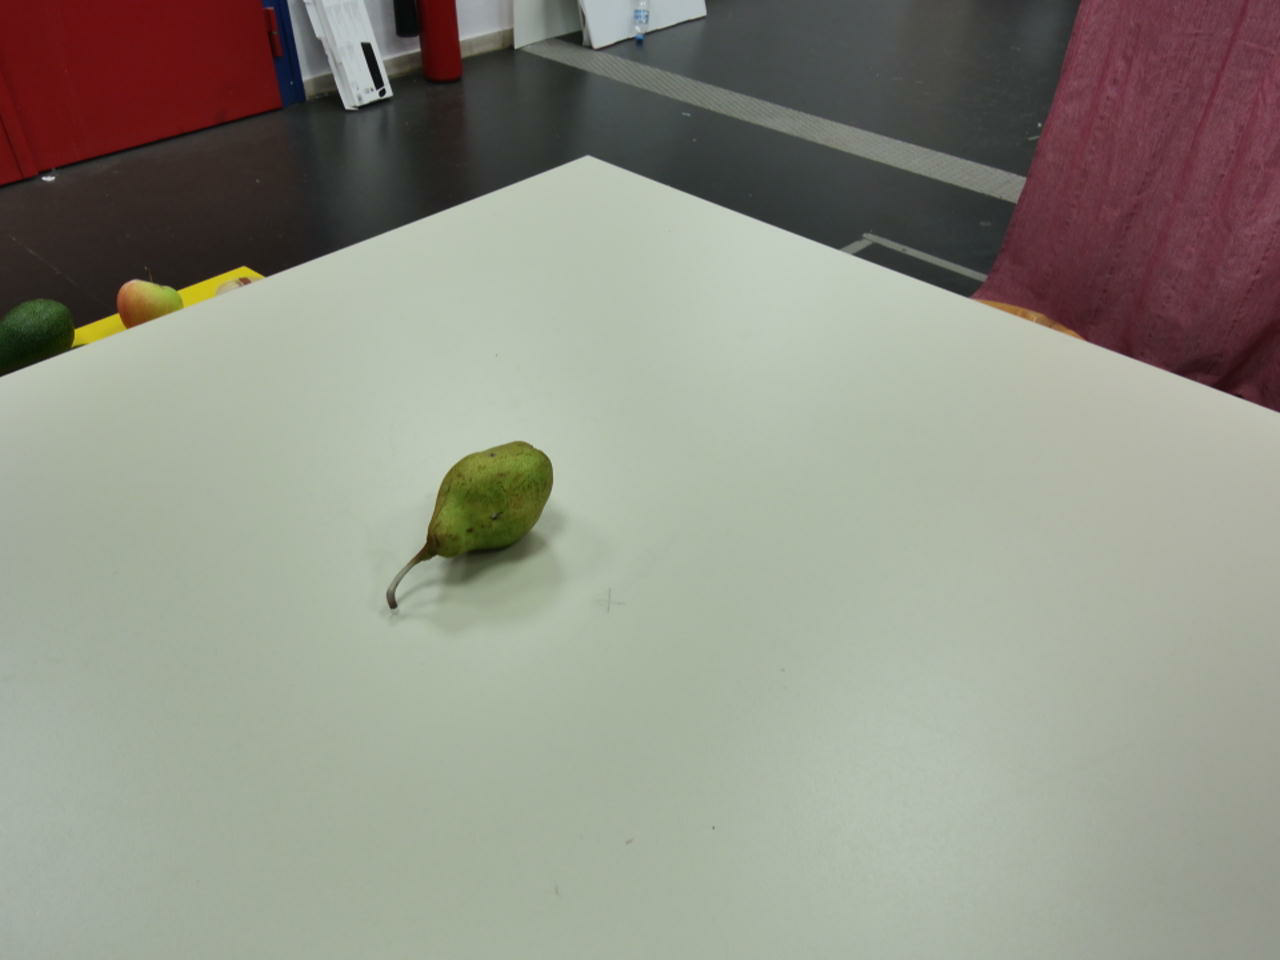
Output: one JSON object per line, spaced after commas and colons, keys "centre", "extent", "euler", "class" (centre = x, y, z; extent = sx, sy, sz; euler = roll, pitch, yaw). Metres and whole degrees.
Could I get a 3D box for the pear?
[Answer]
{"centre": [-0.099, 0.016, 0.548], "extent": [0.111, 0.056, 0.056], "euler": [-21, 43, -26], "class": "pear"}
